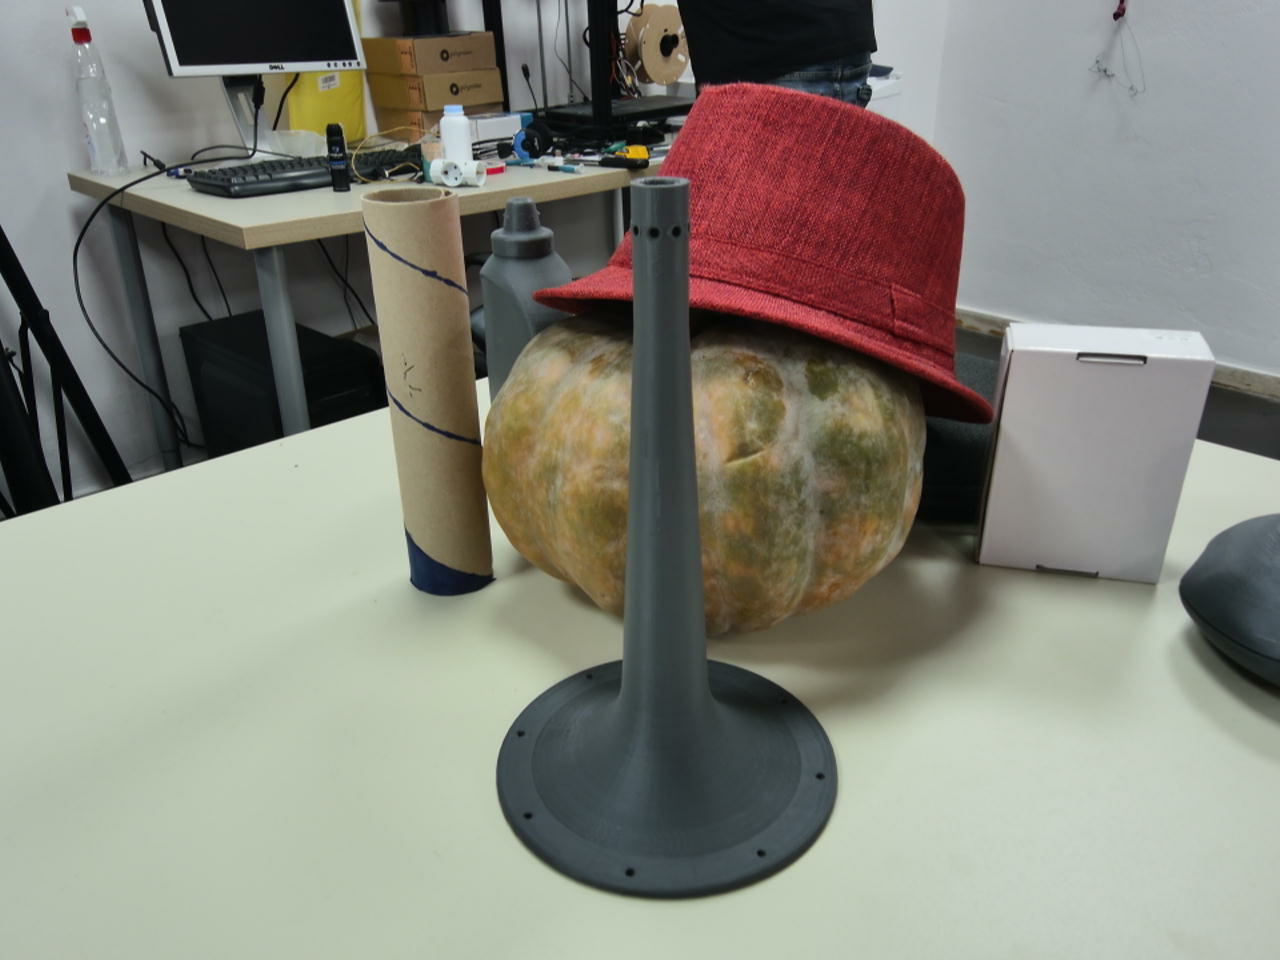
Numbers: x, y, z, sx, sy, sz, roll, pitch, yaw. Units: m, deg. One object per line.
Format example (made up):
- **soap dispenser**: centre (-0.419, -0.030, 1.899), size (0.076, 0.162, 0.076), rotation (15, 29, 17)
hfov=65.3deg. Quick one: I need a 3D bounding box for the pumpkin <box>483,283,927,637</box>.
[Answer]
- **pumpkin**: centre (0.036, -0.021, 0.558), size (0.252, 0.169, 0.251), rotation (0, 24, 0)
